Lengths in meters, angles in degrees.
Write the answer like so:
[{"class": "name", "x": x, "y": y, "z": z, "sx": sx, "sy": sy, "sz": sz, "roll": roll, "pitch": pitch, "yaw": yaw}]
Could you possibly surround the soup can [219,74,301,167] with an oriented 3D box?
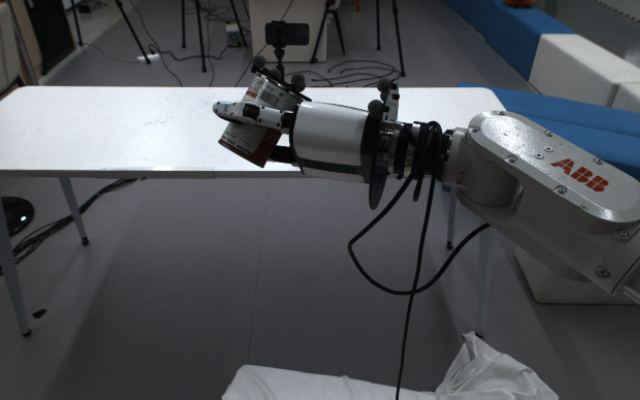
[{"class": "soup can", "x": -0.078, "y": -0.101, "z": 0.627, "sx": 0.067, "sy": 0.101, "sz": 0.067, "roll": 30, "pitch": 2, "yaw": -1}]
